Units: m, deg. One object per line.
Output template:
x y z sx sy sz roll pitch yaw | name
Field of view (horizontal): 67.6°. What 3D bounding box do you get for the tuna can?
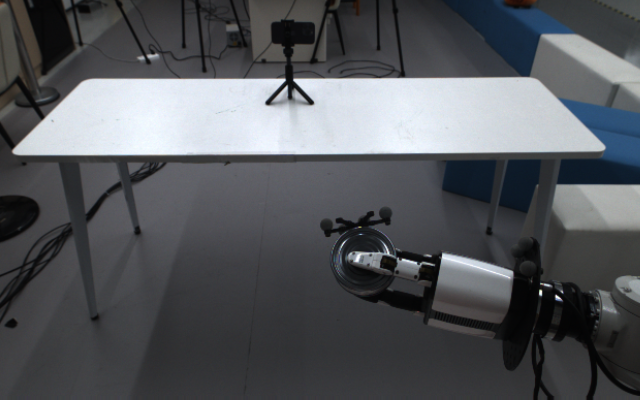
0.059 0.076 0.619 0.085 0.034 0.085 -4 68 9 | tuna can
